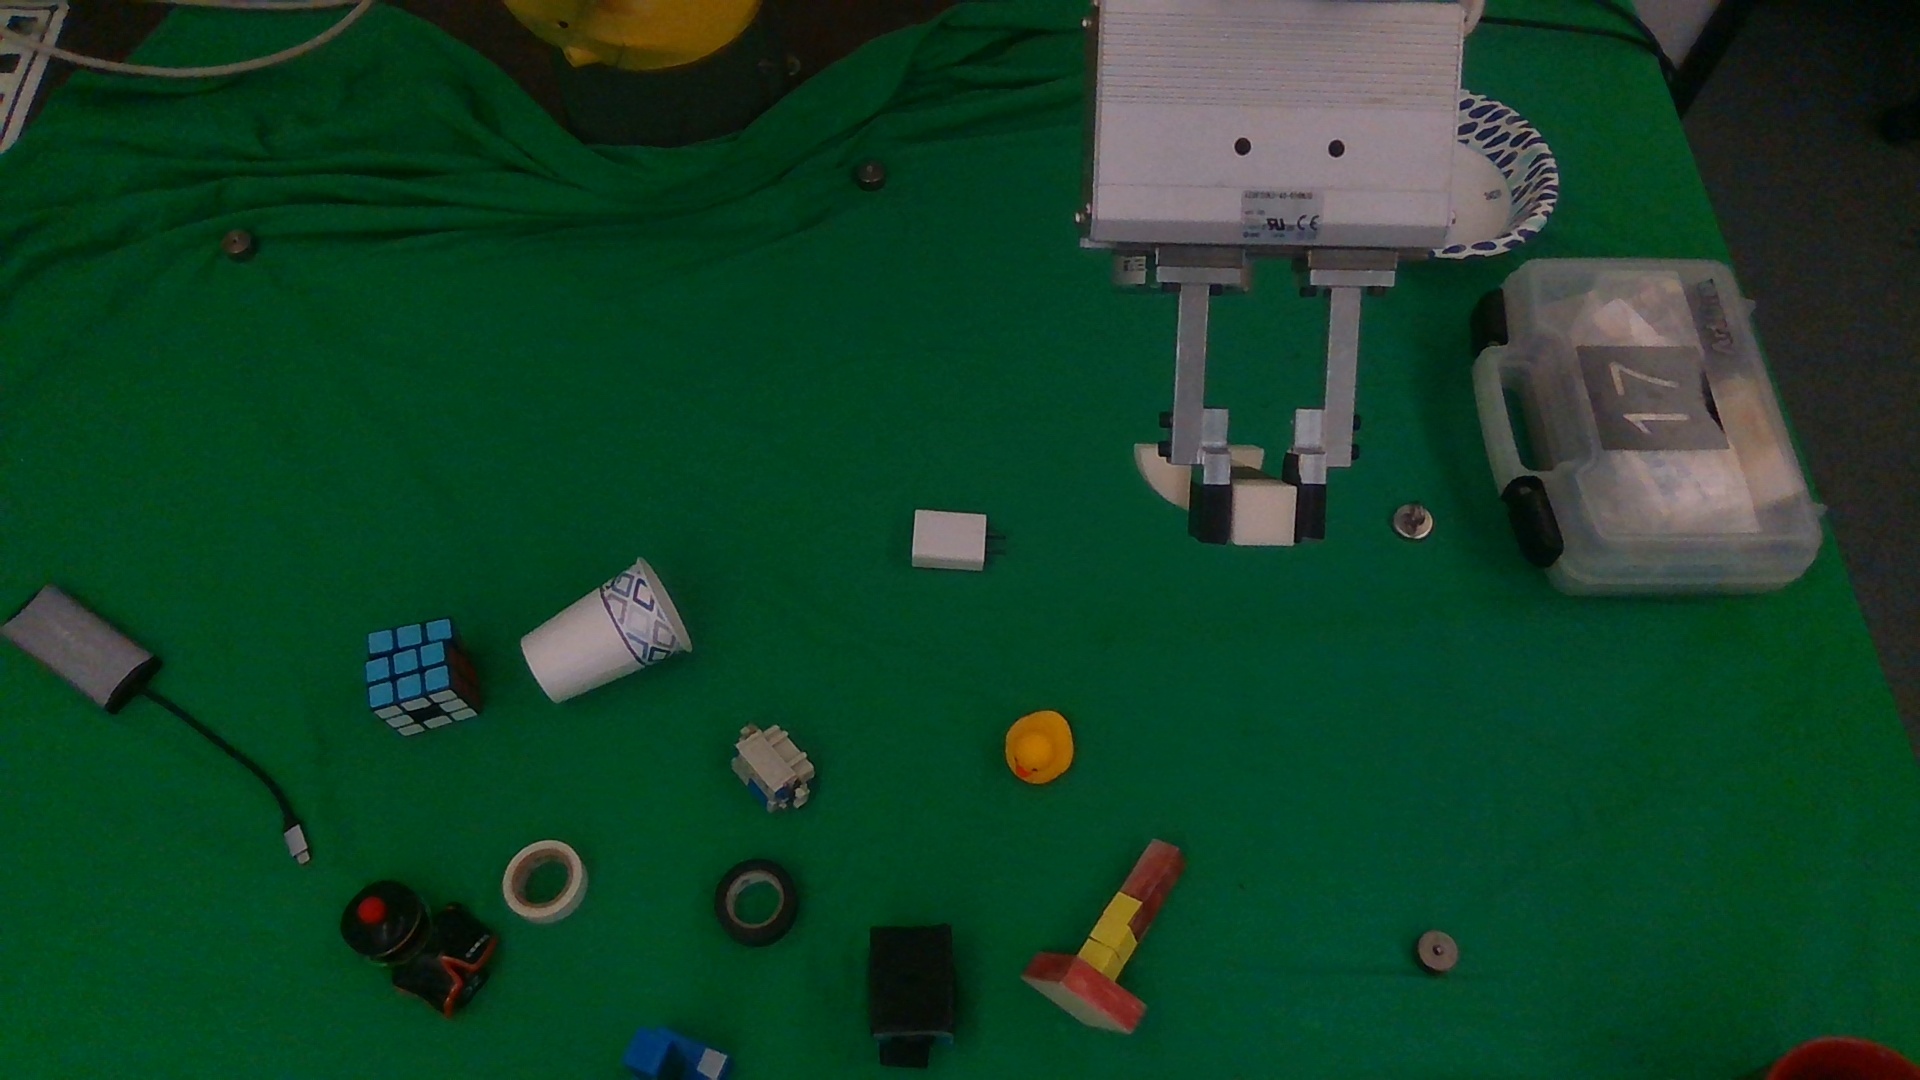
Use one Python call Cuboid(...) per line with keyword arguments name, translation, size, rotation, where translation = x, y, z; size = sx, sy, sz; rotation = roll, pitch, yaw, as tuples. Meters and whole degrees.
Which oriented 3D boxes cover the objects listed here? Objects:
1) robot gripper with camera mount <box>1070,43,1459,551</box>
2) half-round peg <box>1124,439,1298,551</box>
Cuboid(name="robot gripper with camera mount", translation=(0.091, -0.083, 0.533), size=(0.119, 0.193, 0.158), rotation=(0, 96, -4))
Cuboid(name="half-round peg", translation=(0.096, -0.017, 0.512), size=(0.054, 0.122, 0.031), rotation=(0, 99, -2))
